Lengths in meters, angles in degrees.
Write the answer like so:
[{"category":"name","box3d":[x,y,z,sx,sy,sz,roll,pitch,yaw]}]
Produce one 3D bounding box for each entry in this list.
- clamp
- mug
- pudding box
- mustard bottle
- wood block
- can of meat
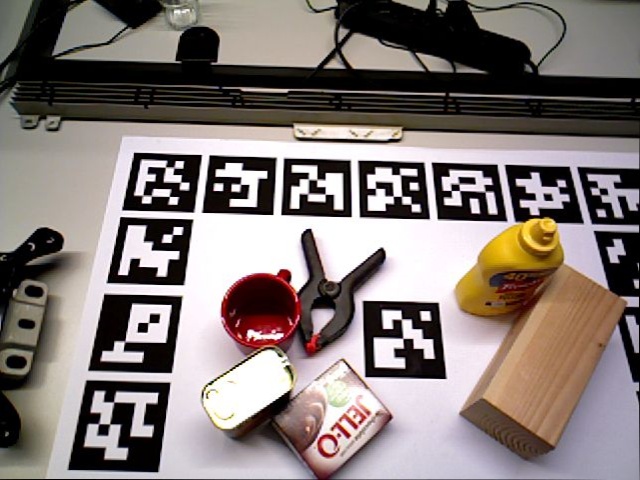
[{"category":"clamp","box3d":[0.014,0.060,0.694,0.121,0.037,0.162,20,66,6]},{"category":"mug","box3d":[-0.068,0.090,0.670,0.093,0.083,0.115,22,65,8]},{"category":"pudding box","box3d":[0.017,0.206,0.614,0.112,0.039,0.090,-35,70,-20]},{"category":"mustard bottle","box3d":[0.232,0.027,0.625,0.095,0.195,0.058,-2,62,-4]},{"category":"wood block","box3d":[0.268,0.147,0.629,0.090,0.093,0.202,35,65,17]},{"category":"can of meat","box3d":[-0.079,0.170,0.597,0.100,0.085,0.057,-26,68,-15]}]
